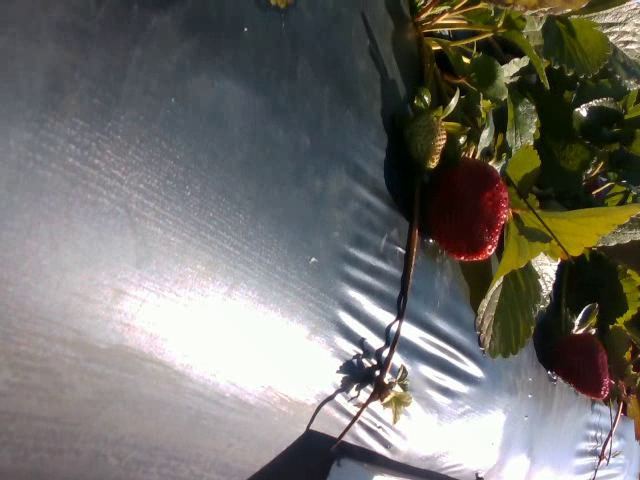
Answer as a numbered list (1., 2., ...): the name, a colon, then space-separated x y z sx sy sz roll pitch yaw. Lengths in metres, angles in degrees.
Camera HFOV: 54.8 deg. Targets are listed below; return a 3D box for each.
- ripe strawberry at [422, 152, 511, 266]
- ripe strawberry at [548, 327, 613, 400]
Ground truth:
1. ripe strawberry: 0.060 -0.010 0.249 0.043 0.053 0.042 -22 -42 12
2. ripe strawberry: 0.171 0.086 0.395 0.043 0.043 0.050 -11 33 -1
